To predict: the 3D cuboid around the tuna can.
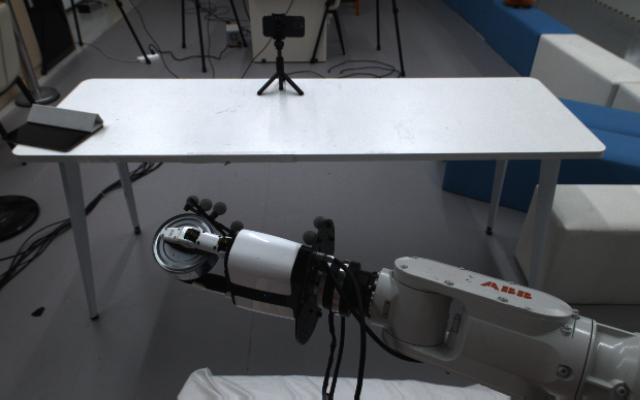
[{"bbox_3d":[-0.177,0.064,0.649,0.085,0.034,0.085,-2,59,3],"label":"tuna can"}]
